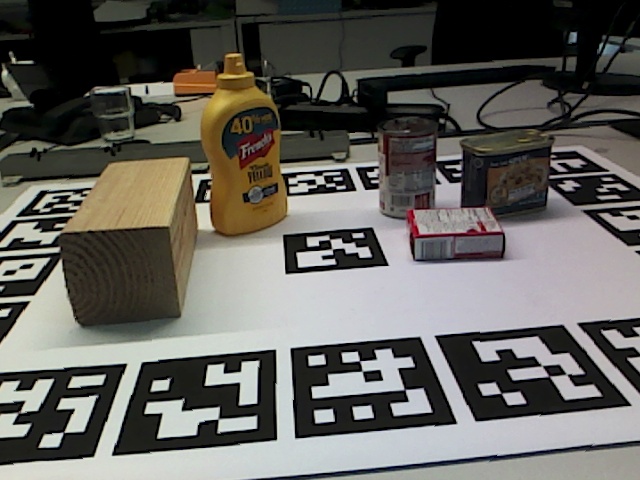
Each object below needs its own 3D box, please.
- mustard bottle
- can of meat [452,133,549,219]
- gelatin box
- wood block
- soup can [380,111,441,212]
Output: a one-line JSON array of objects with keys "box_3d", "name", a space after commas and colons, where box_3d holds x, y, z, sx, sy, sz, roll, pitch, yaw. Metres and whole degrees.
[{"box_3d": [-0.089, -0.103, 0.693, 0.096, 0.191, 0.059, -15, 27, -27], "name": "mustard bottle"}, {"box_3d": [0.205, -0.073, 0.714, 0.101, 0.083, 0.058, -8, 26, -17], "name": "can of meat"}, {"box_3d": [0.137, -0.008, 0.634, 0.089, 0.030, 0.073, -2, 27, 8], "name": "gelatin box"}, {"box_3d": [-0.176, -0.010, 0.612, 0.091, 0.090, 0.207, -3, 21, -3], "name": "wood block"}, {"box_3d": [0.105, -0.092, 0.722, 0.068, 0.102, 0.068, -3, 26, 1], "name": "soup can"}]
